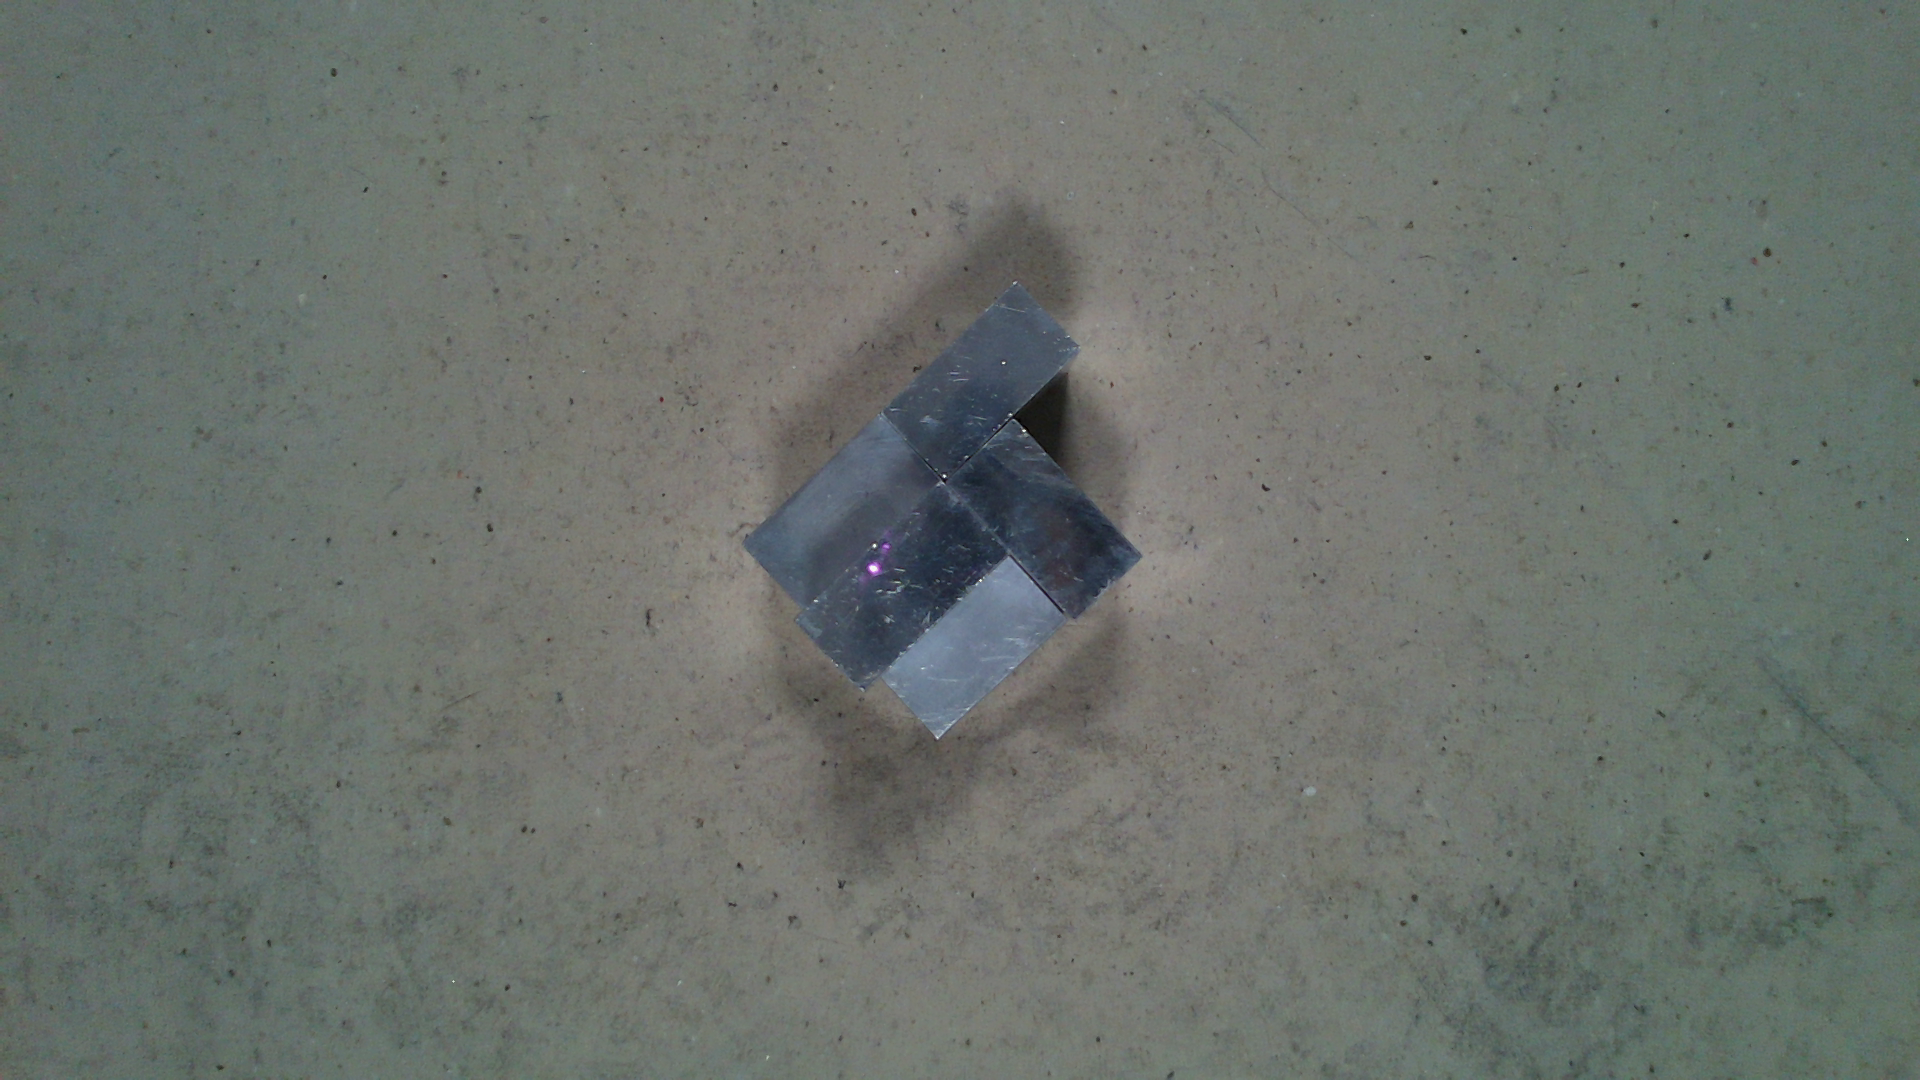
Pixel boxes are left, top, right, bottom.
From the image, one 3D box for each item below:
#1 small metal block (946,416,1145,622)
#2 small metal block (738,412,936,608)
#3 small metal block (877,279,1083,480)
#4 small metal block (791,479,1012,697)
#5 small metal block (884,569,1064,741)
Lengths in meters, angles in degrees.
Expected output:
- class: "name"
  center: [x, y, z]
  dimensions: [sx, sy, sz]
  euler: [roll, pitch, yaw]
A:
- class: "small metal block"
  center: [0.022, -0.006, 0.383]
  dimensions: [0.025, 0.050, 0.050]
  euler: [-43, 90, 0]
- class: "small metal block"
  center: [-0.031, -0.007, 0.383]
  dimensions: [0.050, 0.050, 0.025]
  euler: [-44, 90, 0]
- class: "small metal block"
  center: [0.005, -0.042, 0.382]
  dimensions: [0.050, 0.050, 0.025]
  euler: [-44, 90, 0]
- class: "small metal block"
  center: [-0.014, 0.011, 0.358]
  dimensions: [0.050, 0.050, 0.025]
  euler: [-44, 90, 0]
- class: "small metal block"
  center: [-0.005, 0.021, 0.396]
  dimensions: [0.050, 0.025, 0.050]
  euler: [-43, 90, 0]
